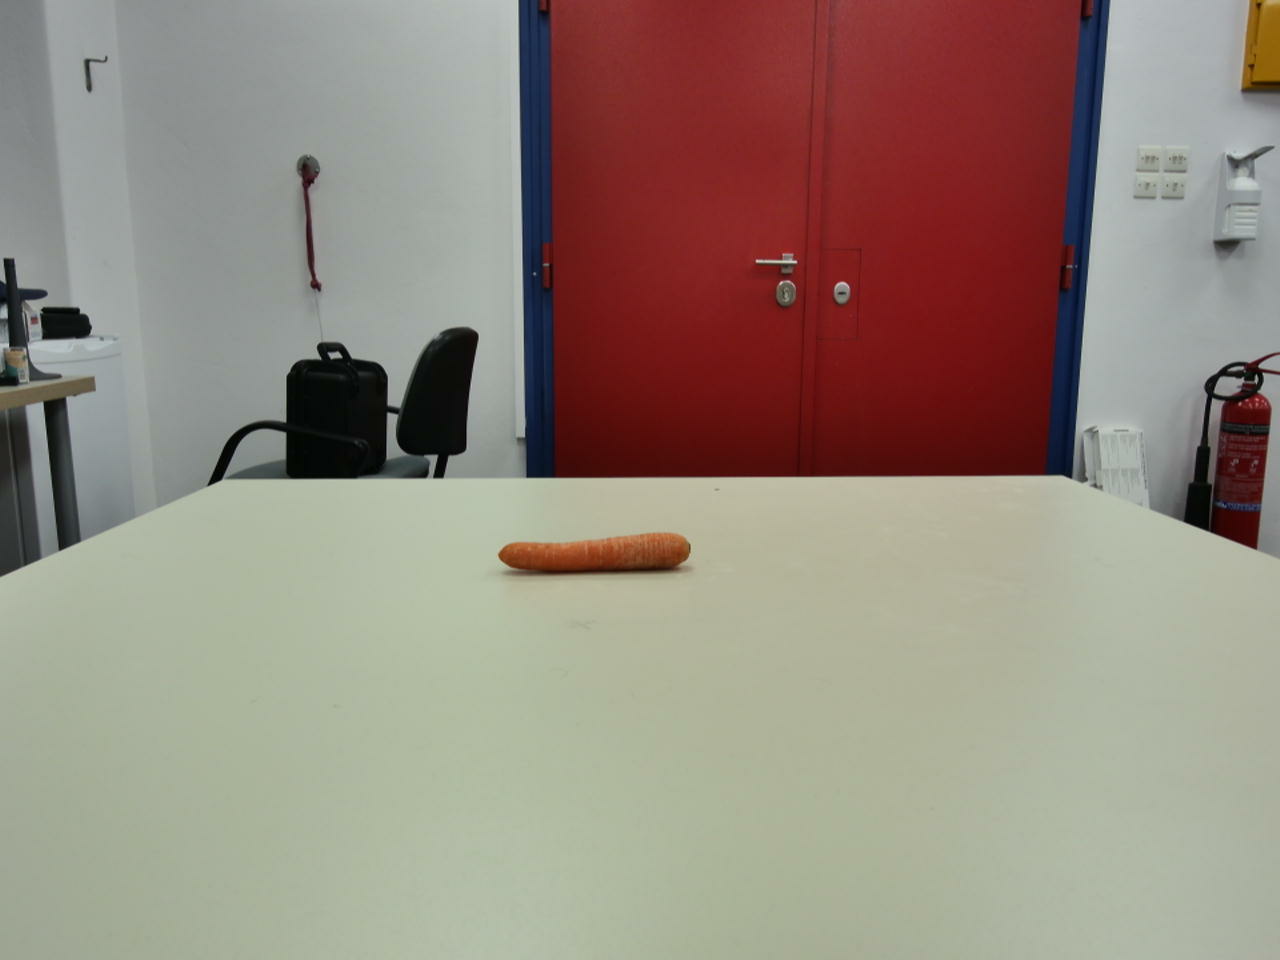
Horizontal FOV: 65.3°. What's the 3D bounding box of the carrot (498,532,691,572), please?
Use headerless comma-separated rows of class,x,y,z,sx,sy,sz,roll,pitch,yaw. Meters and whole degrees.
carrot,-0.028,0.046,0.637,0.122,0.023,0.024,0,8,-4
